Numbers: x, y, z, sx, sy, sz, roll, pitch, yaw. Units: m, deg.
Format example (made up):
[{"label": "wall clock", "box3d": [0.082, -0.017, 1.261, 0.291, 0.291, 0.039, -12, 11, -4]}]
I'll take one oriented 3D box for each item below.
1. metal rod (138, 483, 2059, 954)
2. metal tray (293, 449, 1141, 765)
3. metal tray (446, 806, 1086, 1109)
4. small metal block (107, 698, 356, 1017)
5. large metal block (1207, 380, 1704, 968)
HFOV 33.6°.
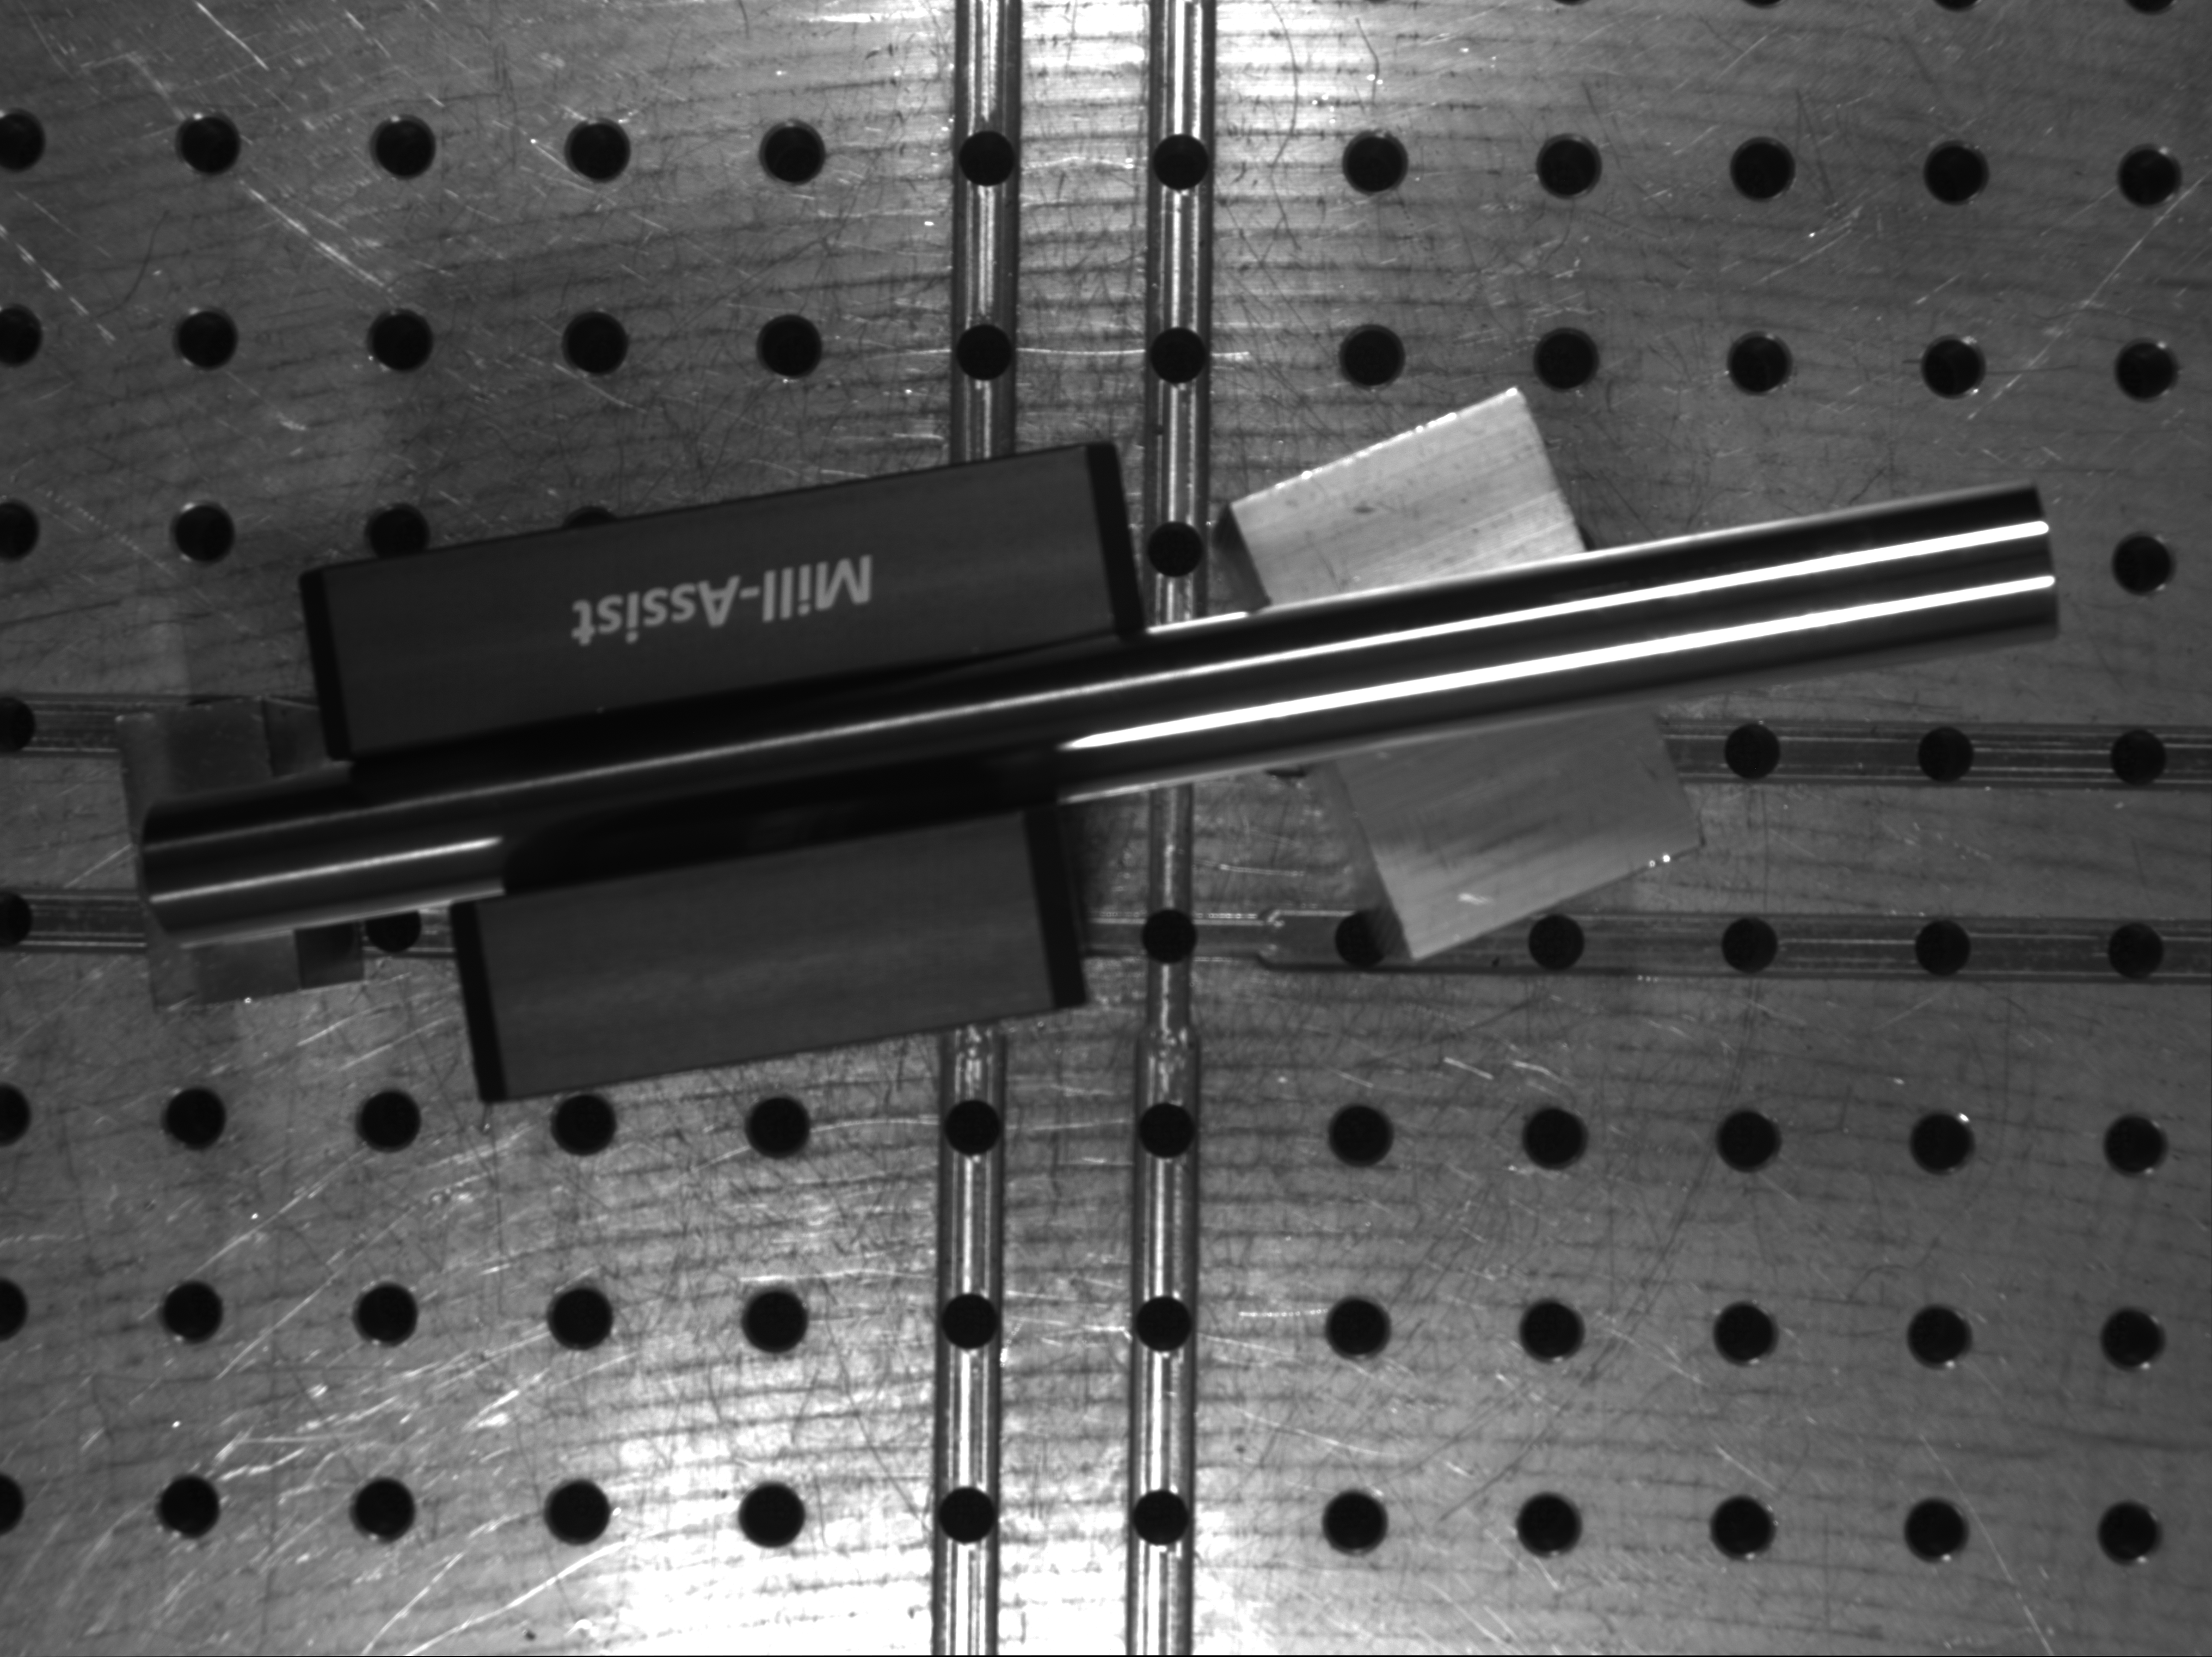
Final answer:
[{"label": "metal rod", "box3d": [-0.006, -0.016, 0.572, 0.300, 0.025, 0.025, -9, 90, 9]}, {"label": "metal tray", "box3d": [-0.061, -0.035, 0.614, 0.130, 0.090, 0.030, -9, 91, 0]}, {"label": "metal tray", "box3d": [-0.050, 0.019, 0.595, 0.090, 0.130, 0.030, -10, 90, -1]}, {"label": "small metal block", "box3d": [-0.150, 0.005, 0.633, 0.025, 0.050, 0.050, -8, 90, 0]}, {"label": "large metal block", "box3d": [0.056, -0.024, 0.620, 0.050, 0.080, 0.080, -22, 90, 0]}]
